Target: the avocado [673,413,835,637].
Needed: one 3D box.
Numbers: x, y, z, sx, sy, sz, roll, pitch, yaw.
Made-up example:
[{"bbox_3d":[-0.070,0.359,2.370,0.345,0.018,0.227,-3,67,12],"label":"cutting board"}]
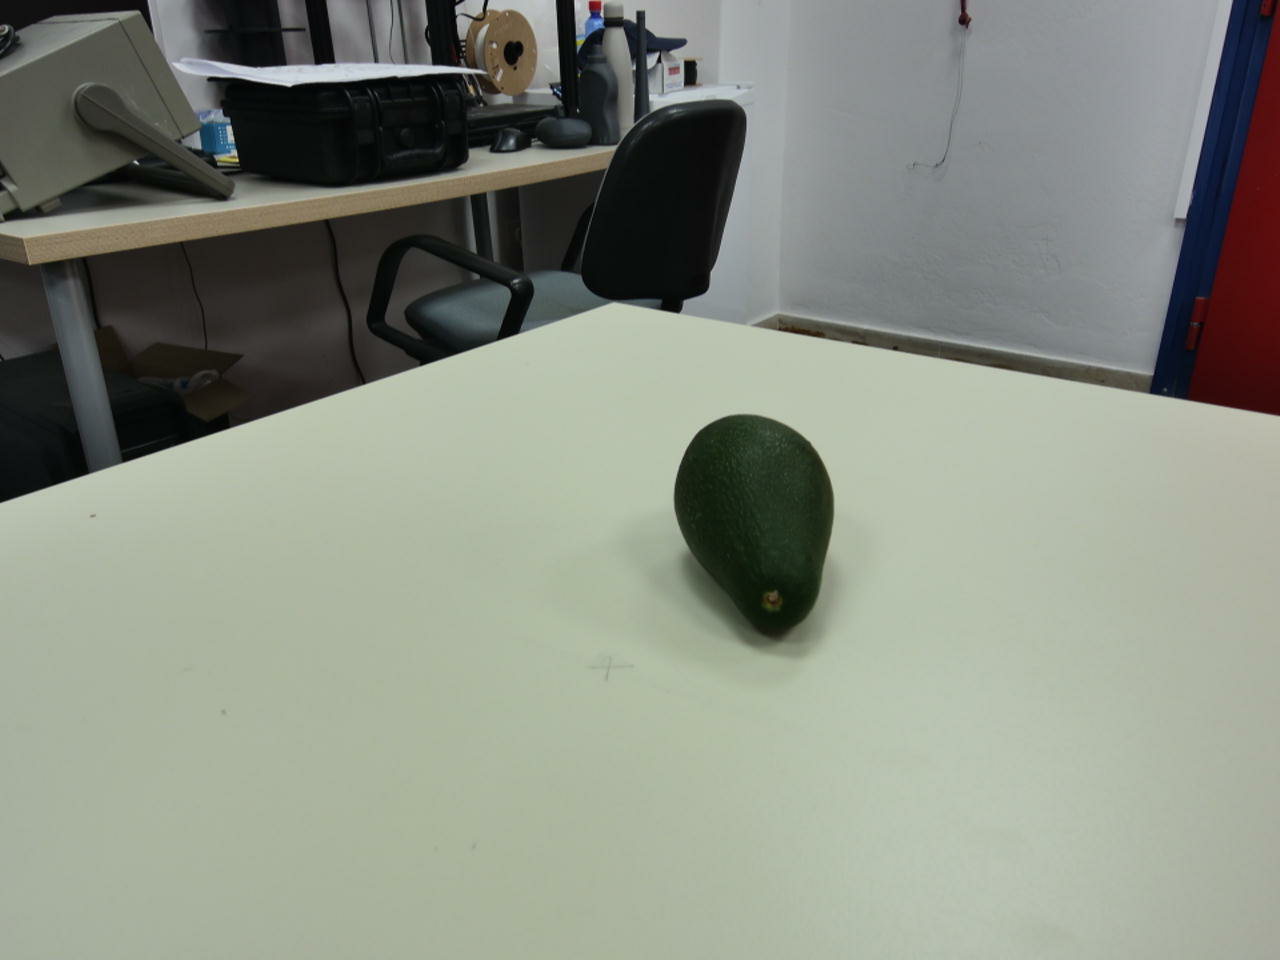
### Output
[{"bbox_3d":[0.047,0.013,0.432,0.073,0.071,0.109,5,23,15],"label":"avocado"}]
